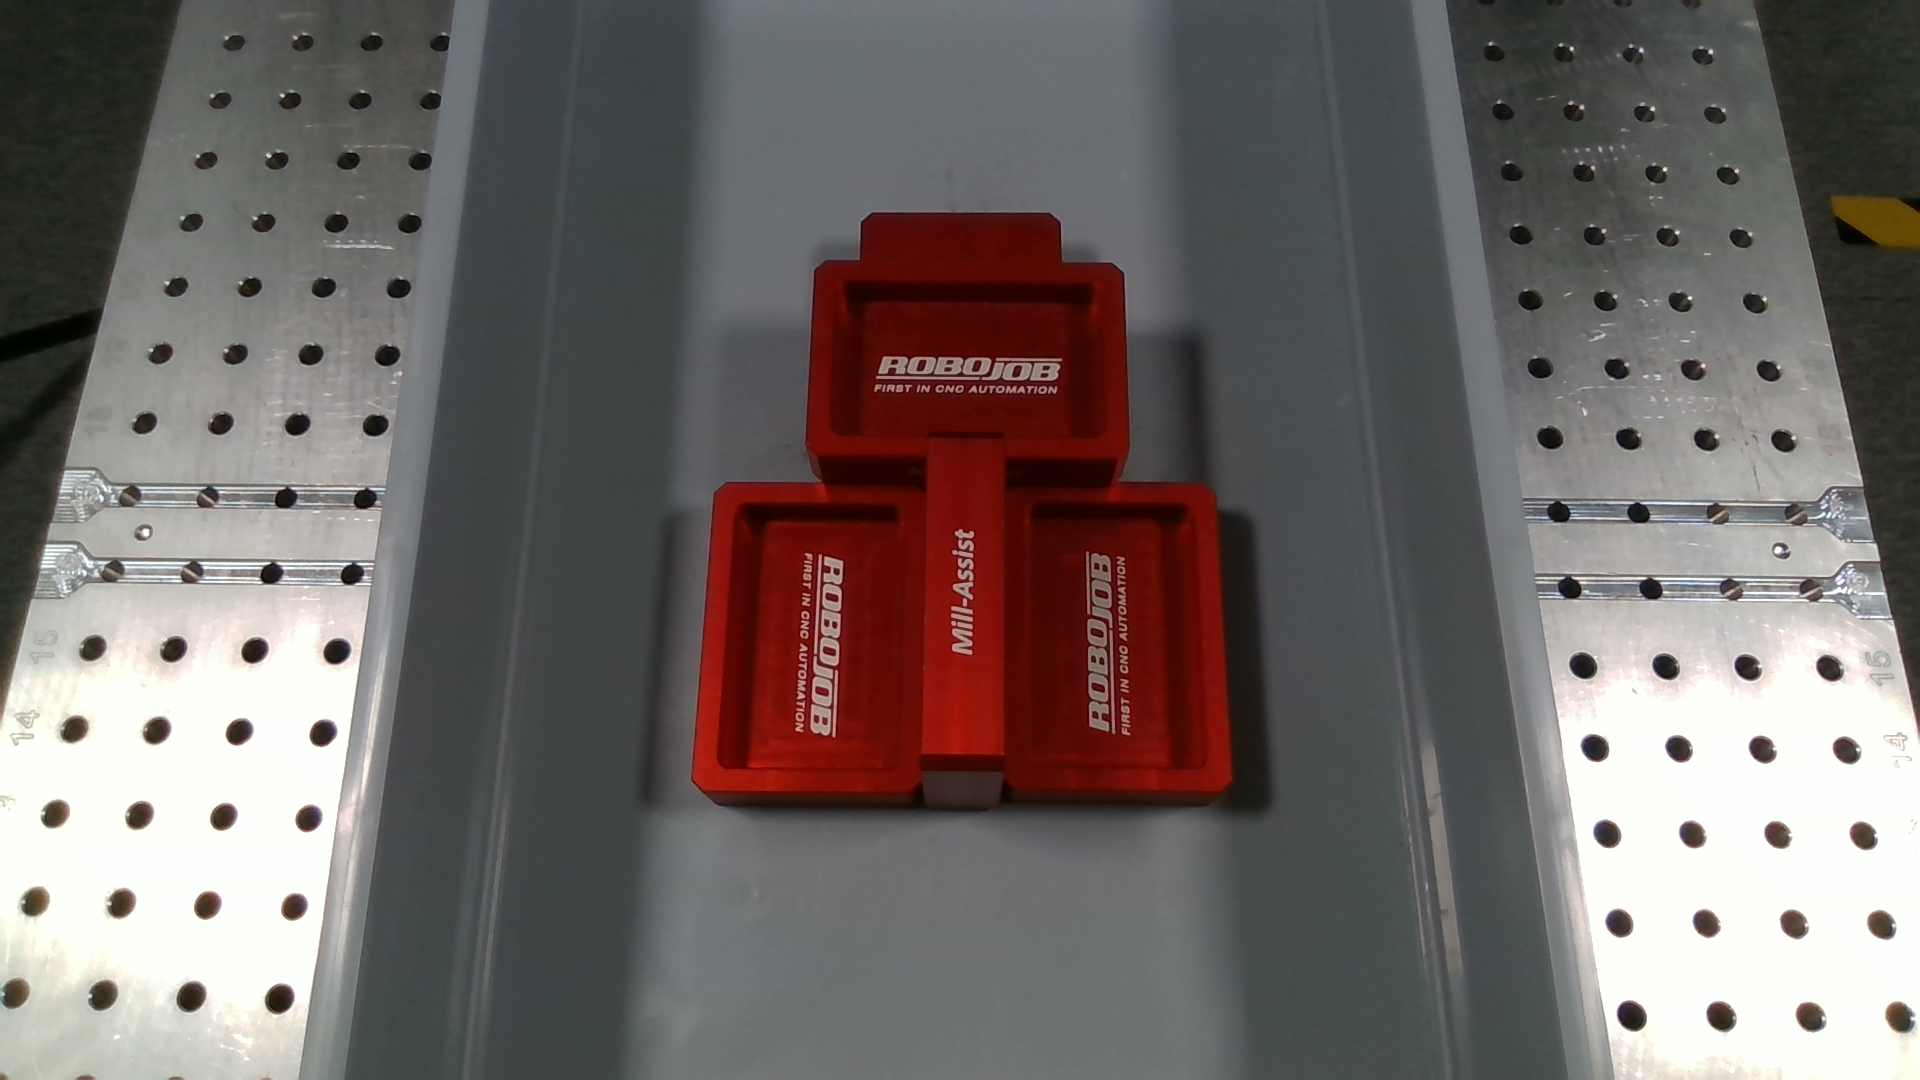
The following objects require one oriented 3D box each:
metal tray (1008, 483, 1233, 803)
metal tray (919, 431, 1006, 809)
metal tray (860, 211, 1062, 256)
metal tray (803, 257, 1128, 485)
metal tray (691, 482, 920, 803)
[{"bbox_3d":[0.062,0.042,0.570,0.090,0.030,0.130,1,70,0],"label":"metal tray"},{"bbox_3d":[0.002,0.033,0.539,0.030,0.090,0.130,1,70,0],"label":"metal tray"},{"bbox_3d":[0.000,-0.083,0.612,0.090,0.030,0.130,0,70,0],"label":"metal tray"},{"bbox_3d":[0.003,-0.071,0.577,0.130,0.030,0.090,1,70,0],"label":"metal tray"},{"bbox_3d":[-0.059,0.042,0.569,0.090,0.030,0.130,1,70,0],"label":"metal tray"}]
